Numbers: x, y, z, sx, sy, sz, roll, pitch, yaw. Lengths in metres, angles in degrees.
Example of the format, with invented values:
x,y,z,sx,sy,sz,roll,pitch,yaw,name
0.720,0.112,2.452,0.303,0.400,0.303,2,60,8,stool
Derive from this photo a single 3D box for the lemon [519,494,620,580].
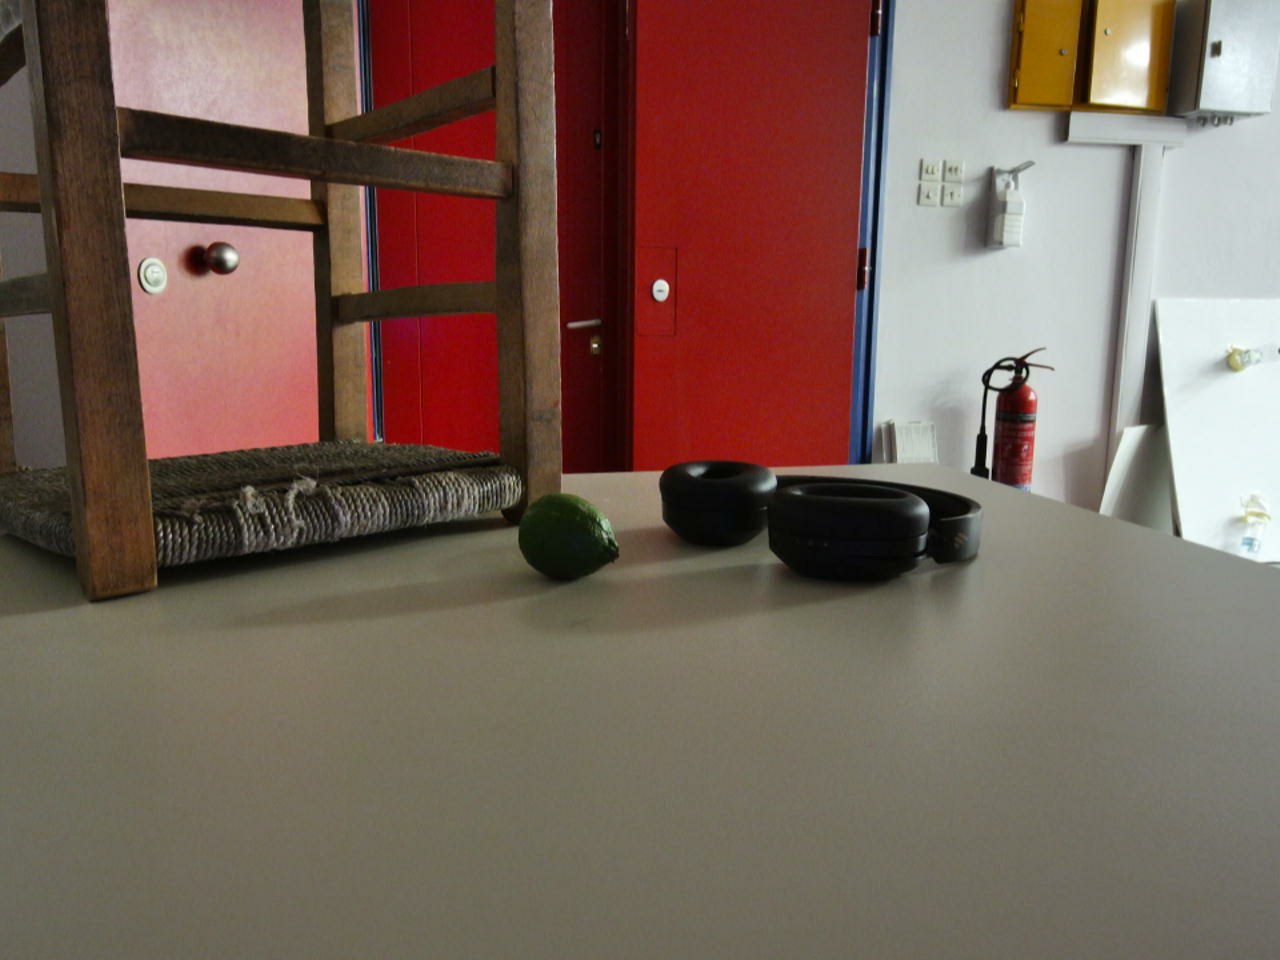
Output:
x,y,z,sx,sy,sz,roll,pitch,yaw,name
-0.045,0.033,0.602,0.057,0.051,0.054,-3,8,-16,lemon
